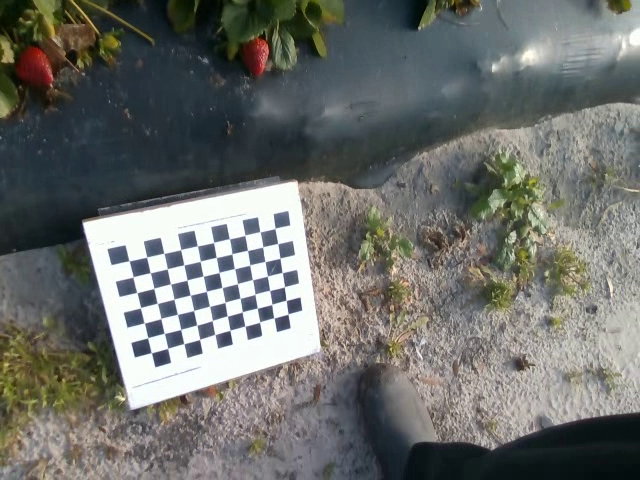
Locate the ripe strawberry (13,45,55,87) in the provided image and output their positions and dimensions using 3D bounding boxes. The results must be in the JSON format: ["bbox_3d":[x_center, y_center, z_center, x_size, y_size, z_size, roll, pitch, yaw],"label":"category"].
[{"bbox_3d":[-0.215,-0.127,0.470,0.030,0.032,0.025,41,-7,-4],"label":"ripe strawberry"}]

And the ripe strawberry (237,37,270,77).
[{"bbox_3d":[-0.055,-0.158,0.536,0.029,0.036,0.021,-11,6,-15],"label":"ripe strawberry"}]
